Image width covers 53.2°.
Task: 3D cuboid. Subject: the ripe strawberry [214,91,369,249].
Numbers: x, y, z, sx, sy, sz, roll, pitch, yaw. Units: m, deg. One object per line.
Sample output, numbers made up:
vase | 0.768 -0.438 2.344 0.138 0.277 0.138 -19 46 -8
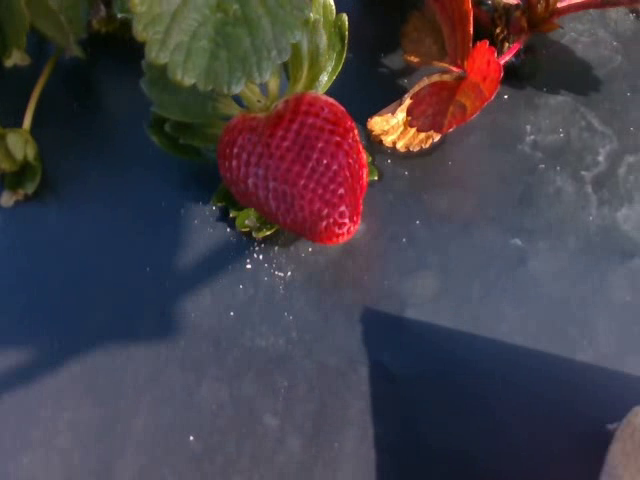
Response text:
ripe strawberry | -0.006 -0.016 0.156 0.040 0.056 0.040 -39 -48 12
